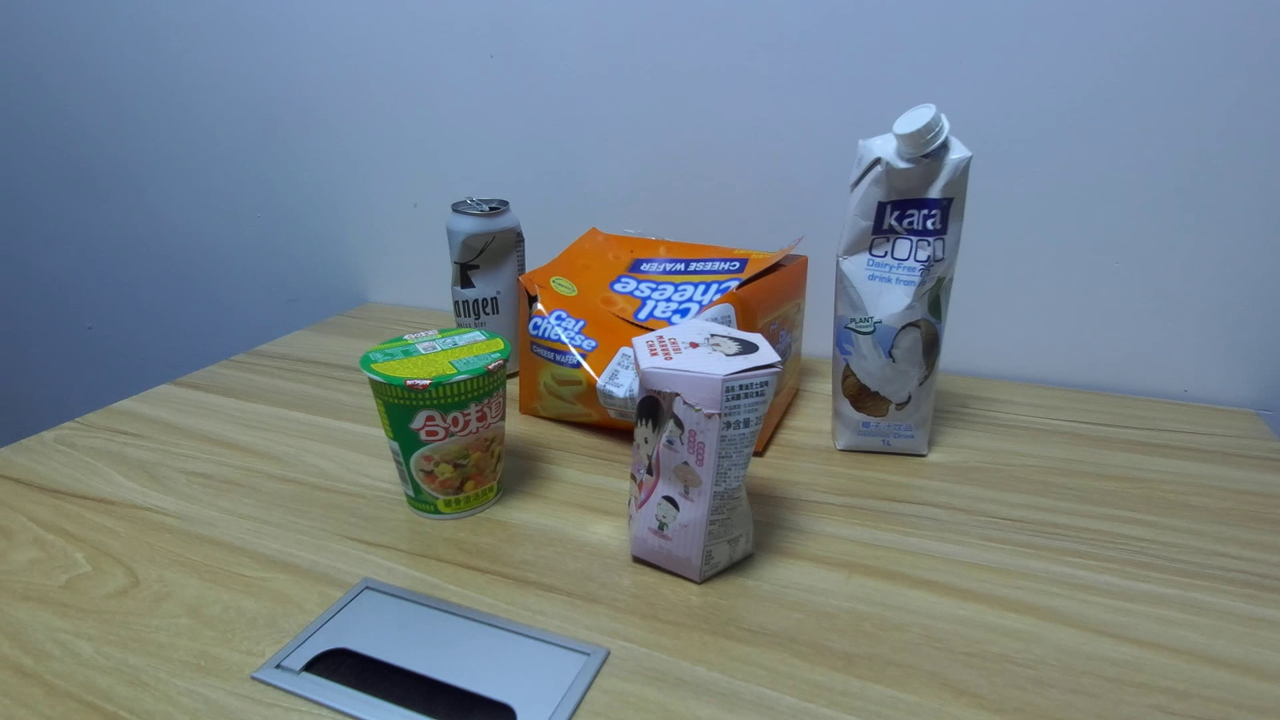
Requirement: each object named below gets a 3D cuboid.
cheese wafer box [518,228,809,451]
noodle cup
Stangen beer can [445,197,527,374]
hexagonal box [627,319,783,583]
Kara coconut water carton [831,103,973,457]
[{"bbox_3d":[0.017,-0.026,0.608,0.218,0.145,0.192,8,24,21],"label":"cheese wafer box"},{"bbox_3d":[-0.134,0.045,0.488,0.097,0.110,0.097,0,22,0],"label":"noodle cup"},{"bbox_3d":[-0.146,-0.069,0.685,0.070,0.173,0.070,10,26,25],"label":"Stangen beer can"},{"bbox_3d":[0.037,0.052,0.428,0.090,0.134,0.091,17,28,30],"label":"hexagonal box"},{"bbox_3d":[0.189,-0.055,0.526,0.083,0.256,0.078,10,27,24],"label":"Kara coconut water carton"}]
